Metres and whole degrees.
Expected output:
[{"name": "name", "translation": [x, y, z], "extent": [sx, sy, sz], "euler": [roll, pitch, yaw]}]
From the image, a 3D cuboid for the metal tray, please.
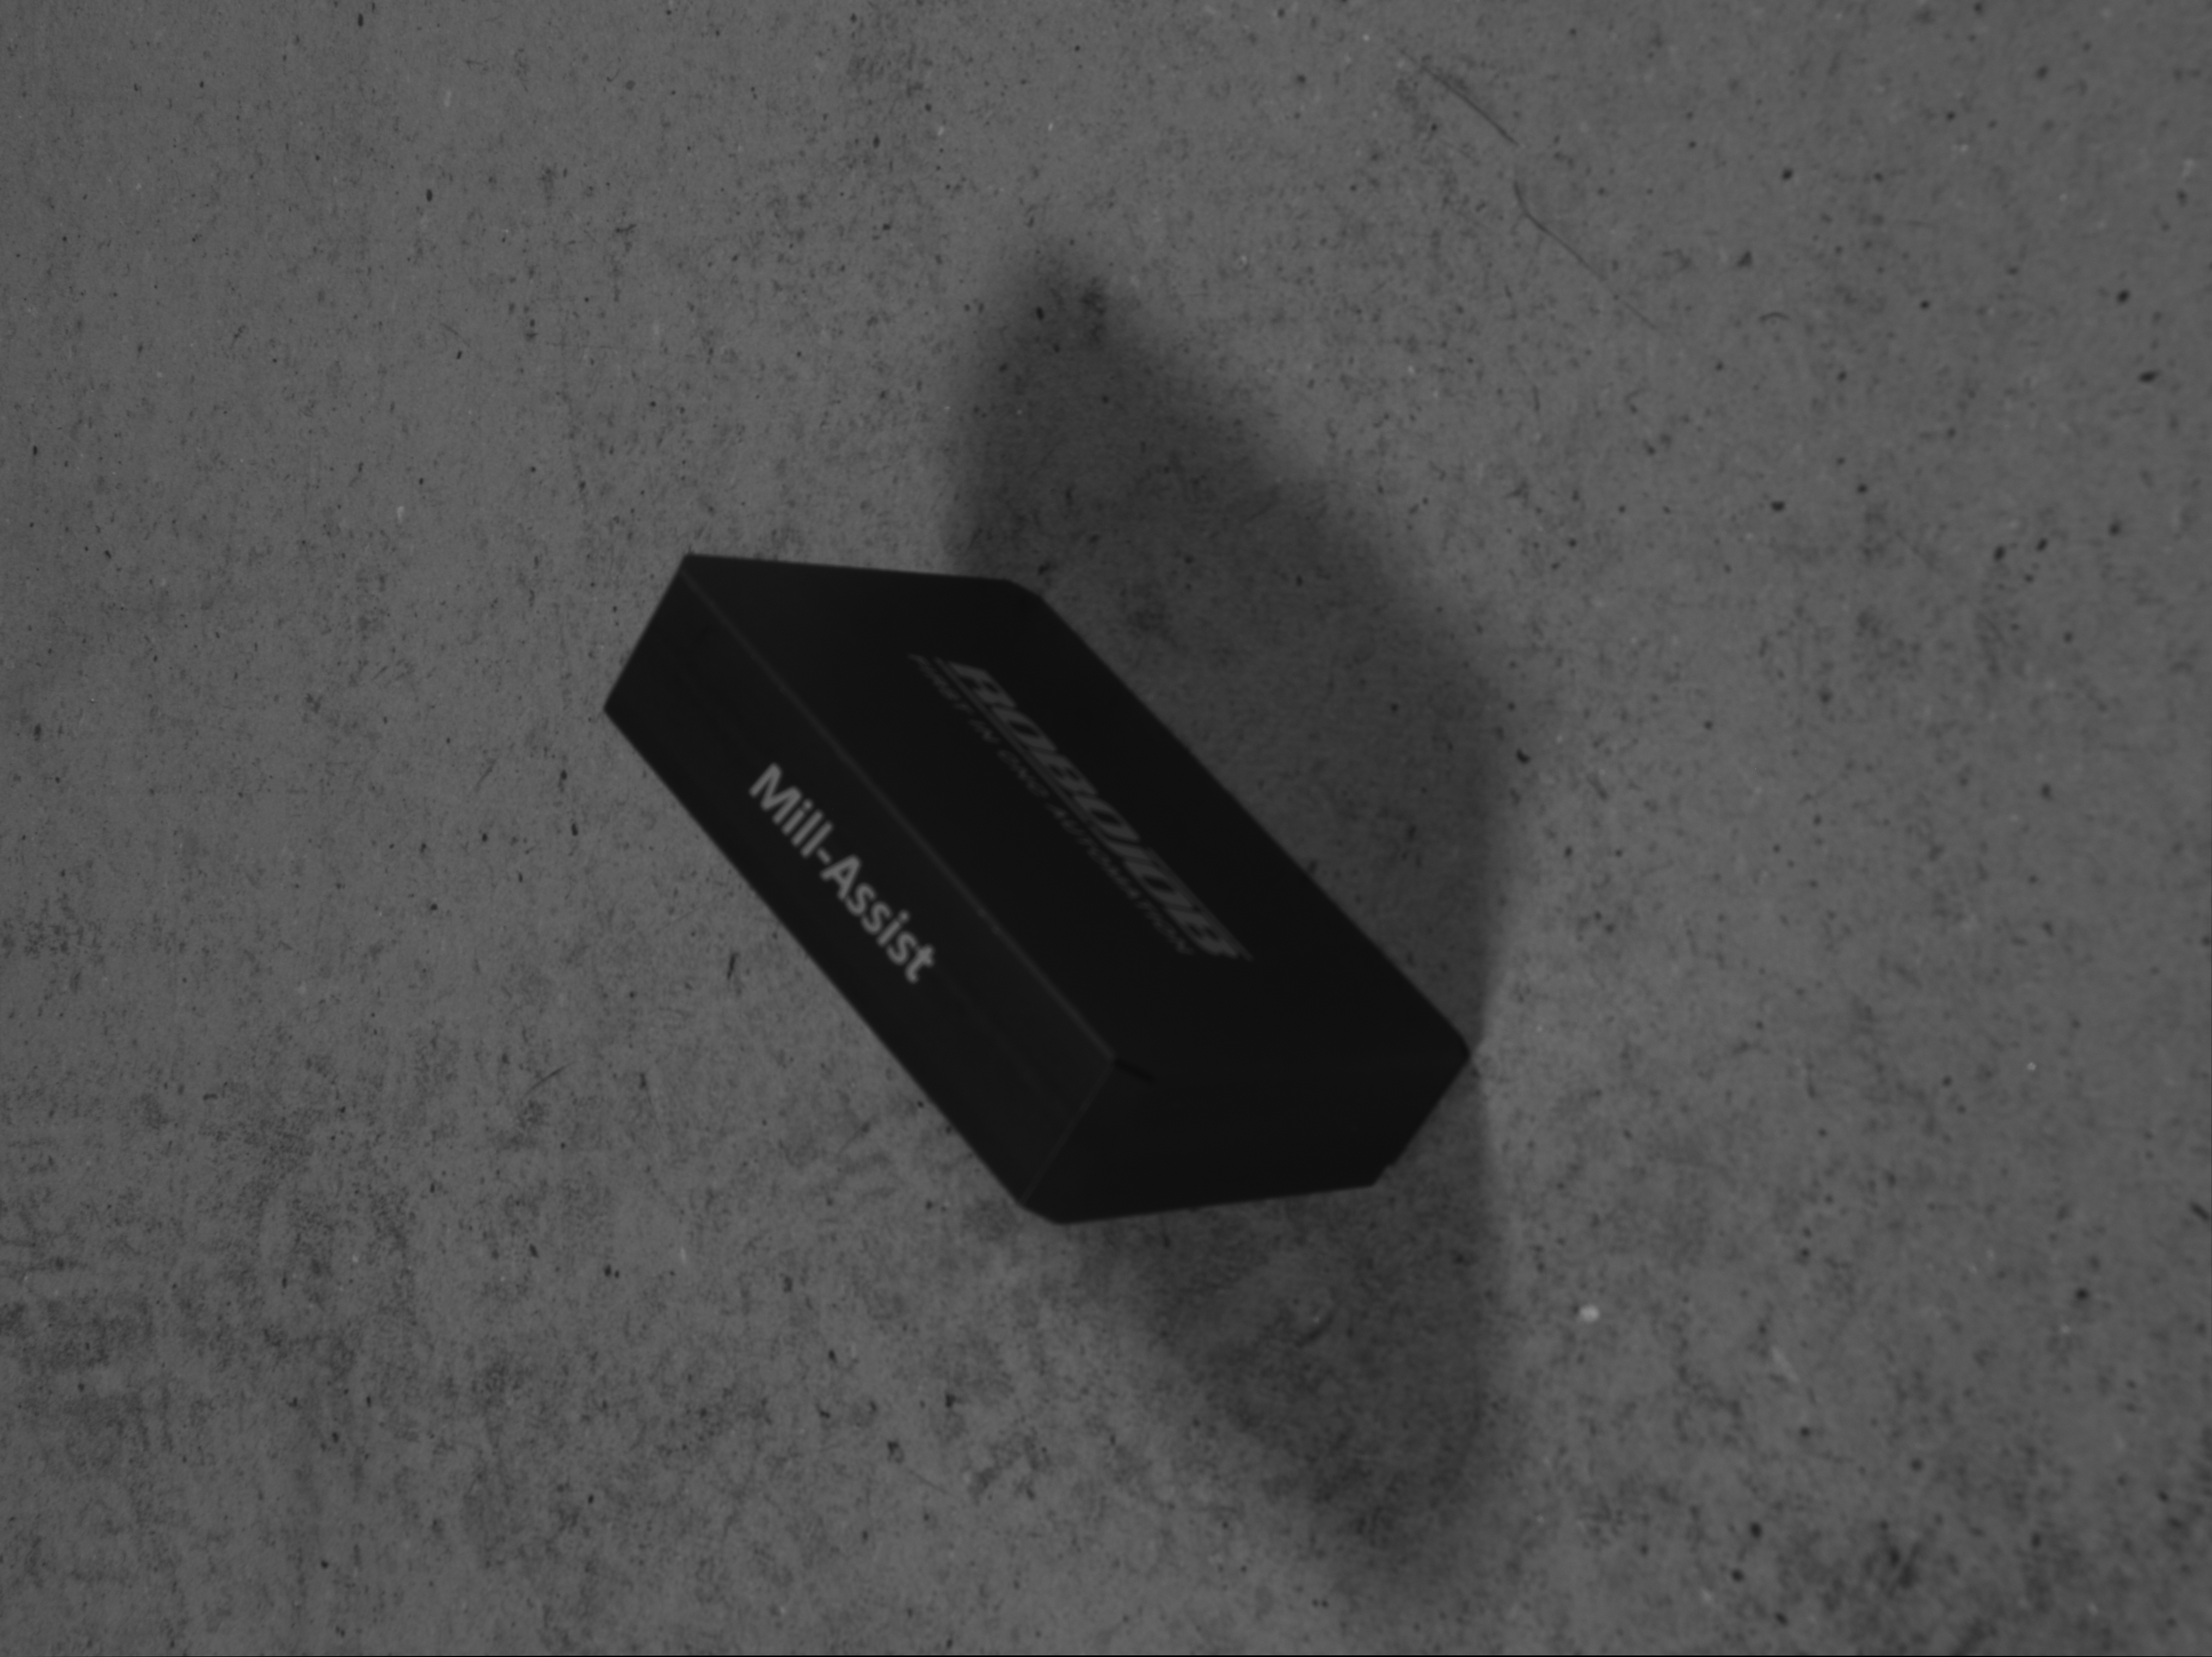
[{"name": "metal tray", "translation": [-0.016, 0.008, 0.608], "extent": [0.130, 0.090, 0.030], "euler": [47, 118, 29]}]
